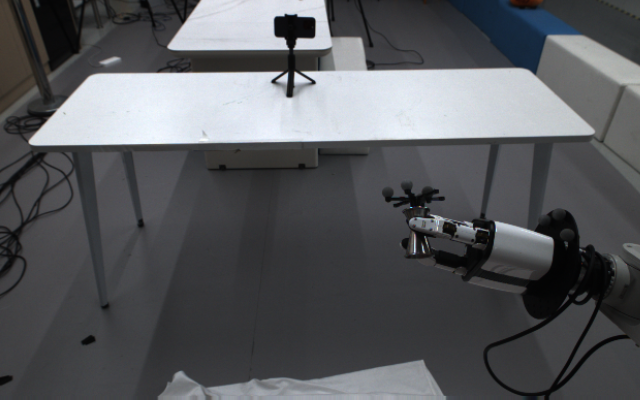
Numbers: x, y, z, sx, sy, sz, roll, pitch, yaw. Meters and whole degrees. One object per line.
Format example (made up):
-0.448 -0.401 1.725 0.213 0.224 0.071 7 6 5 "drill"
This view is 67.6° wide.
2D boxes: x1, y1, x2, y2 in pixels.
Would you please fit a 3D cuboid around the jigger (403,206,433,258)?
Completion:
0.140 0.045 0.691 0.043 0.043 0.071 0 75 -3 "jigger"
